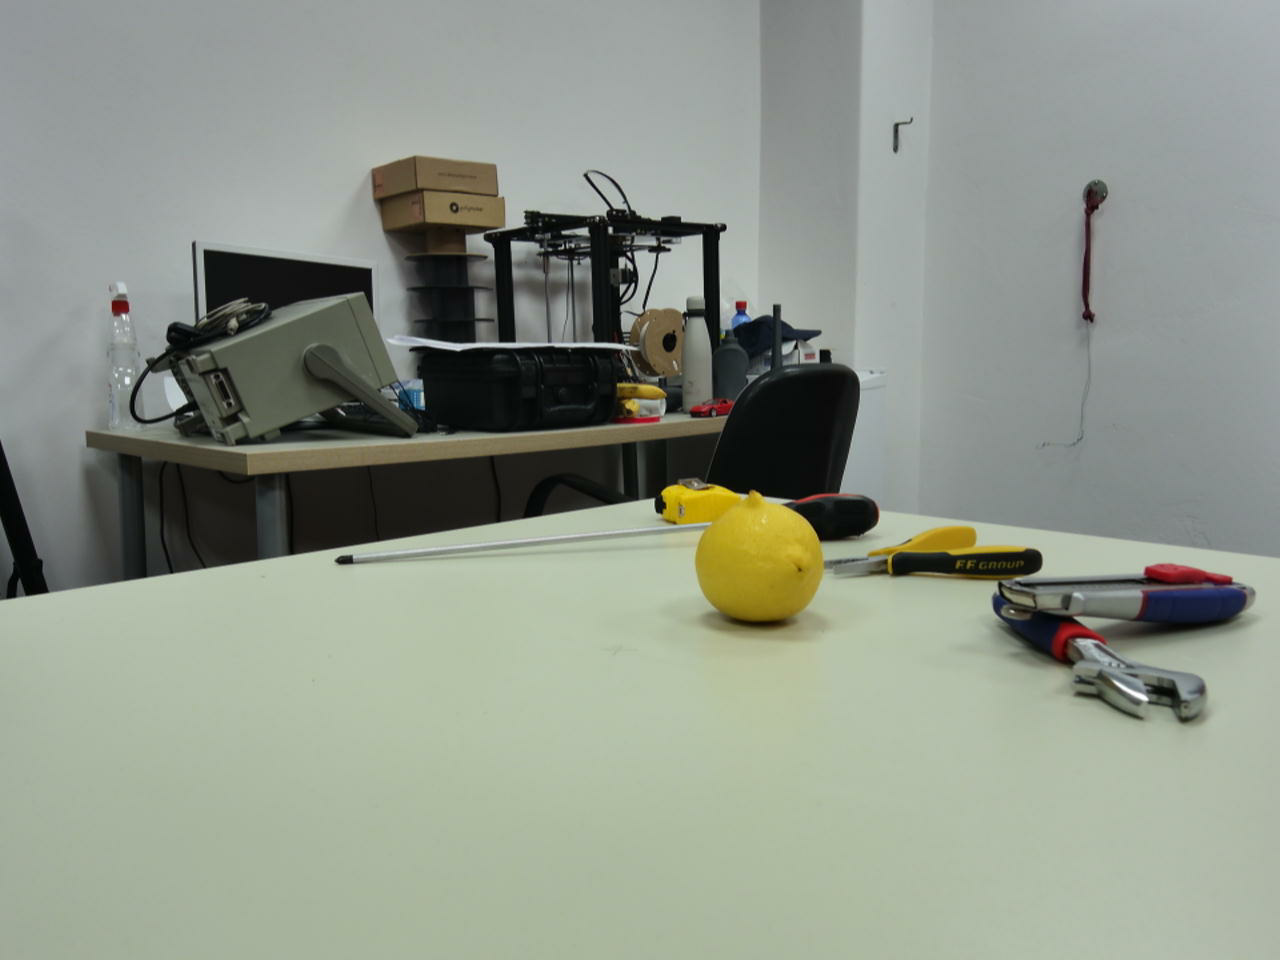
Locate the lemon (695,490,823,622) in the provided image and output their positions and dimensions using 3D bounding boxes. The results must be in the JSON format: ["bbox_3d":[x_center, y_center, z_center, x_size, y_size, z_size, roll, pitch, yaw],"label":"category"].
[{"bbox_3d":[0.065,0.042,0.551,0.070,0.071,0.071,1,5,14],"label":"lemon"}]
